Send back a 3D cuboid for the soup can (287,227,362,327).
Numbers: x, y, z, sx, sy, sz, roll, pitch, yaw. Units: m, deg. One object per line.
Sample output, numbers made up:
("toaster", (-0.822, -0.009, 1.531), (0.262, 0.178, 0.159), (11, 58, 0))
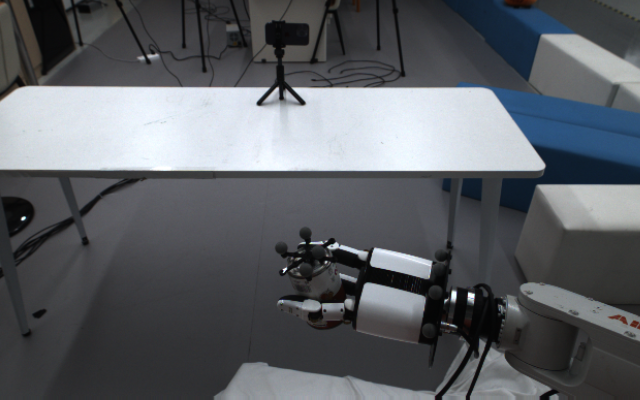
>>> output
("soup can", (0.000, 0.122, 0.675), (0.067, 0.101, 0.067), (-14, 31, 8))
